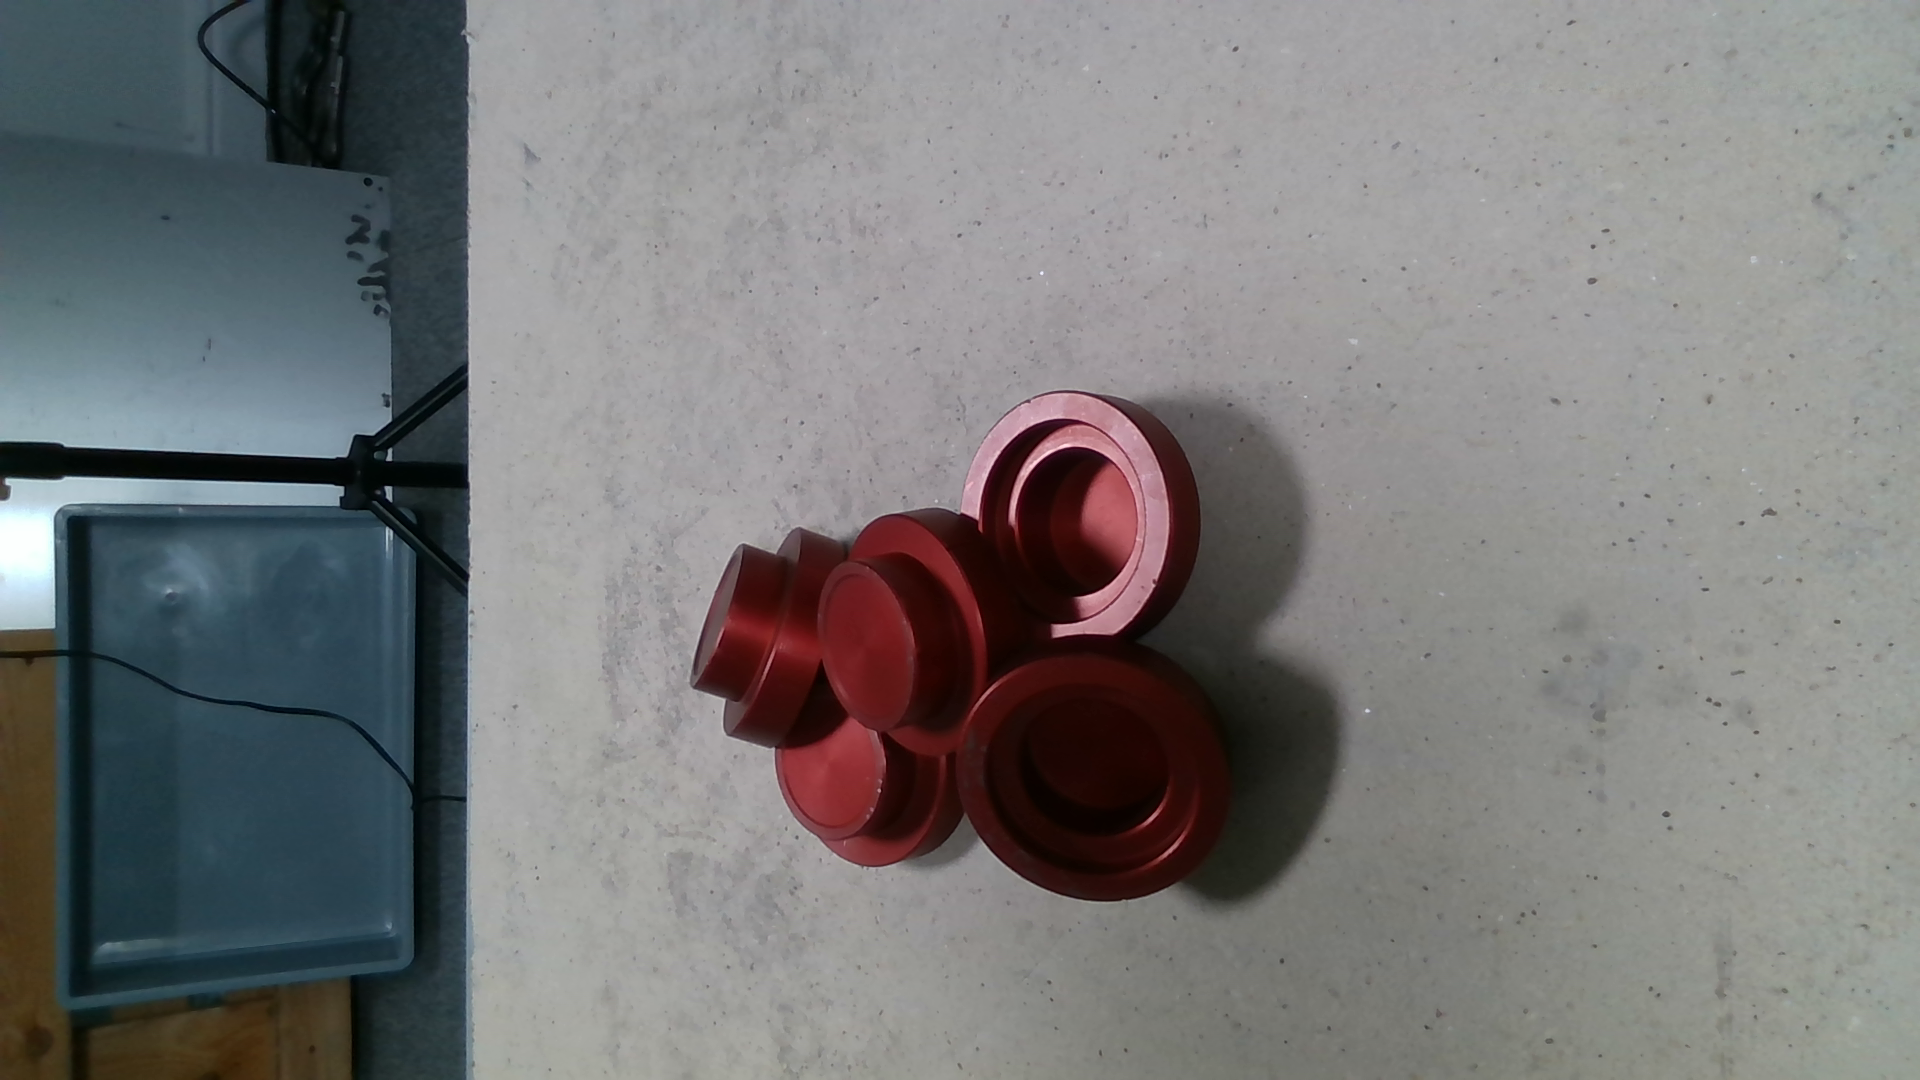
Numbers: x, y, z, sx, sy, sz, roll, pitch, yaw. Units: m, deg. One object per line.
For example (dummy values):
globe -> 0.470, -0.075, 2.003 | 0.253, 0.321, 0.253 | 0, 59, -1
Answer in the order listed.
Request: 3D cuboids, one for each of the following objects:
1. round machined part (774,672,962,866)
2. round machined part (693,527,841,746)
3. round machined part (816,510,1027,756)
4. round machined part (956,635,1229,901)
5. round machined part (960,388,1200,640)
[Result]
round machined part -> -0.044, 0.095, 0.609 | 0.098, 0.042, 0.098 | 0, 91, 40
round machined part -> -0.089, 0.040, 0.614 | 0.098, 0.042, 0.098 | -161, 91, -75
round machined part -> -0.021, 0.038, 0.546 | 0.098, 0.042, 0.098 | 15, 110, 48
round machined part -> 0.051, 0.080, 0.511 | 0.098, 0.042, 0.098 | 4, 109, 13
round machined part -> 0.050, -0.008, 0.529 | 0.098, 0.042, 0.098 | 0, 91, 40
